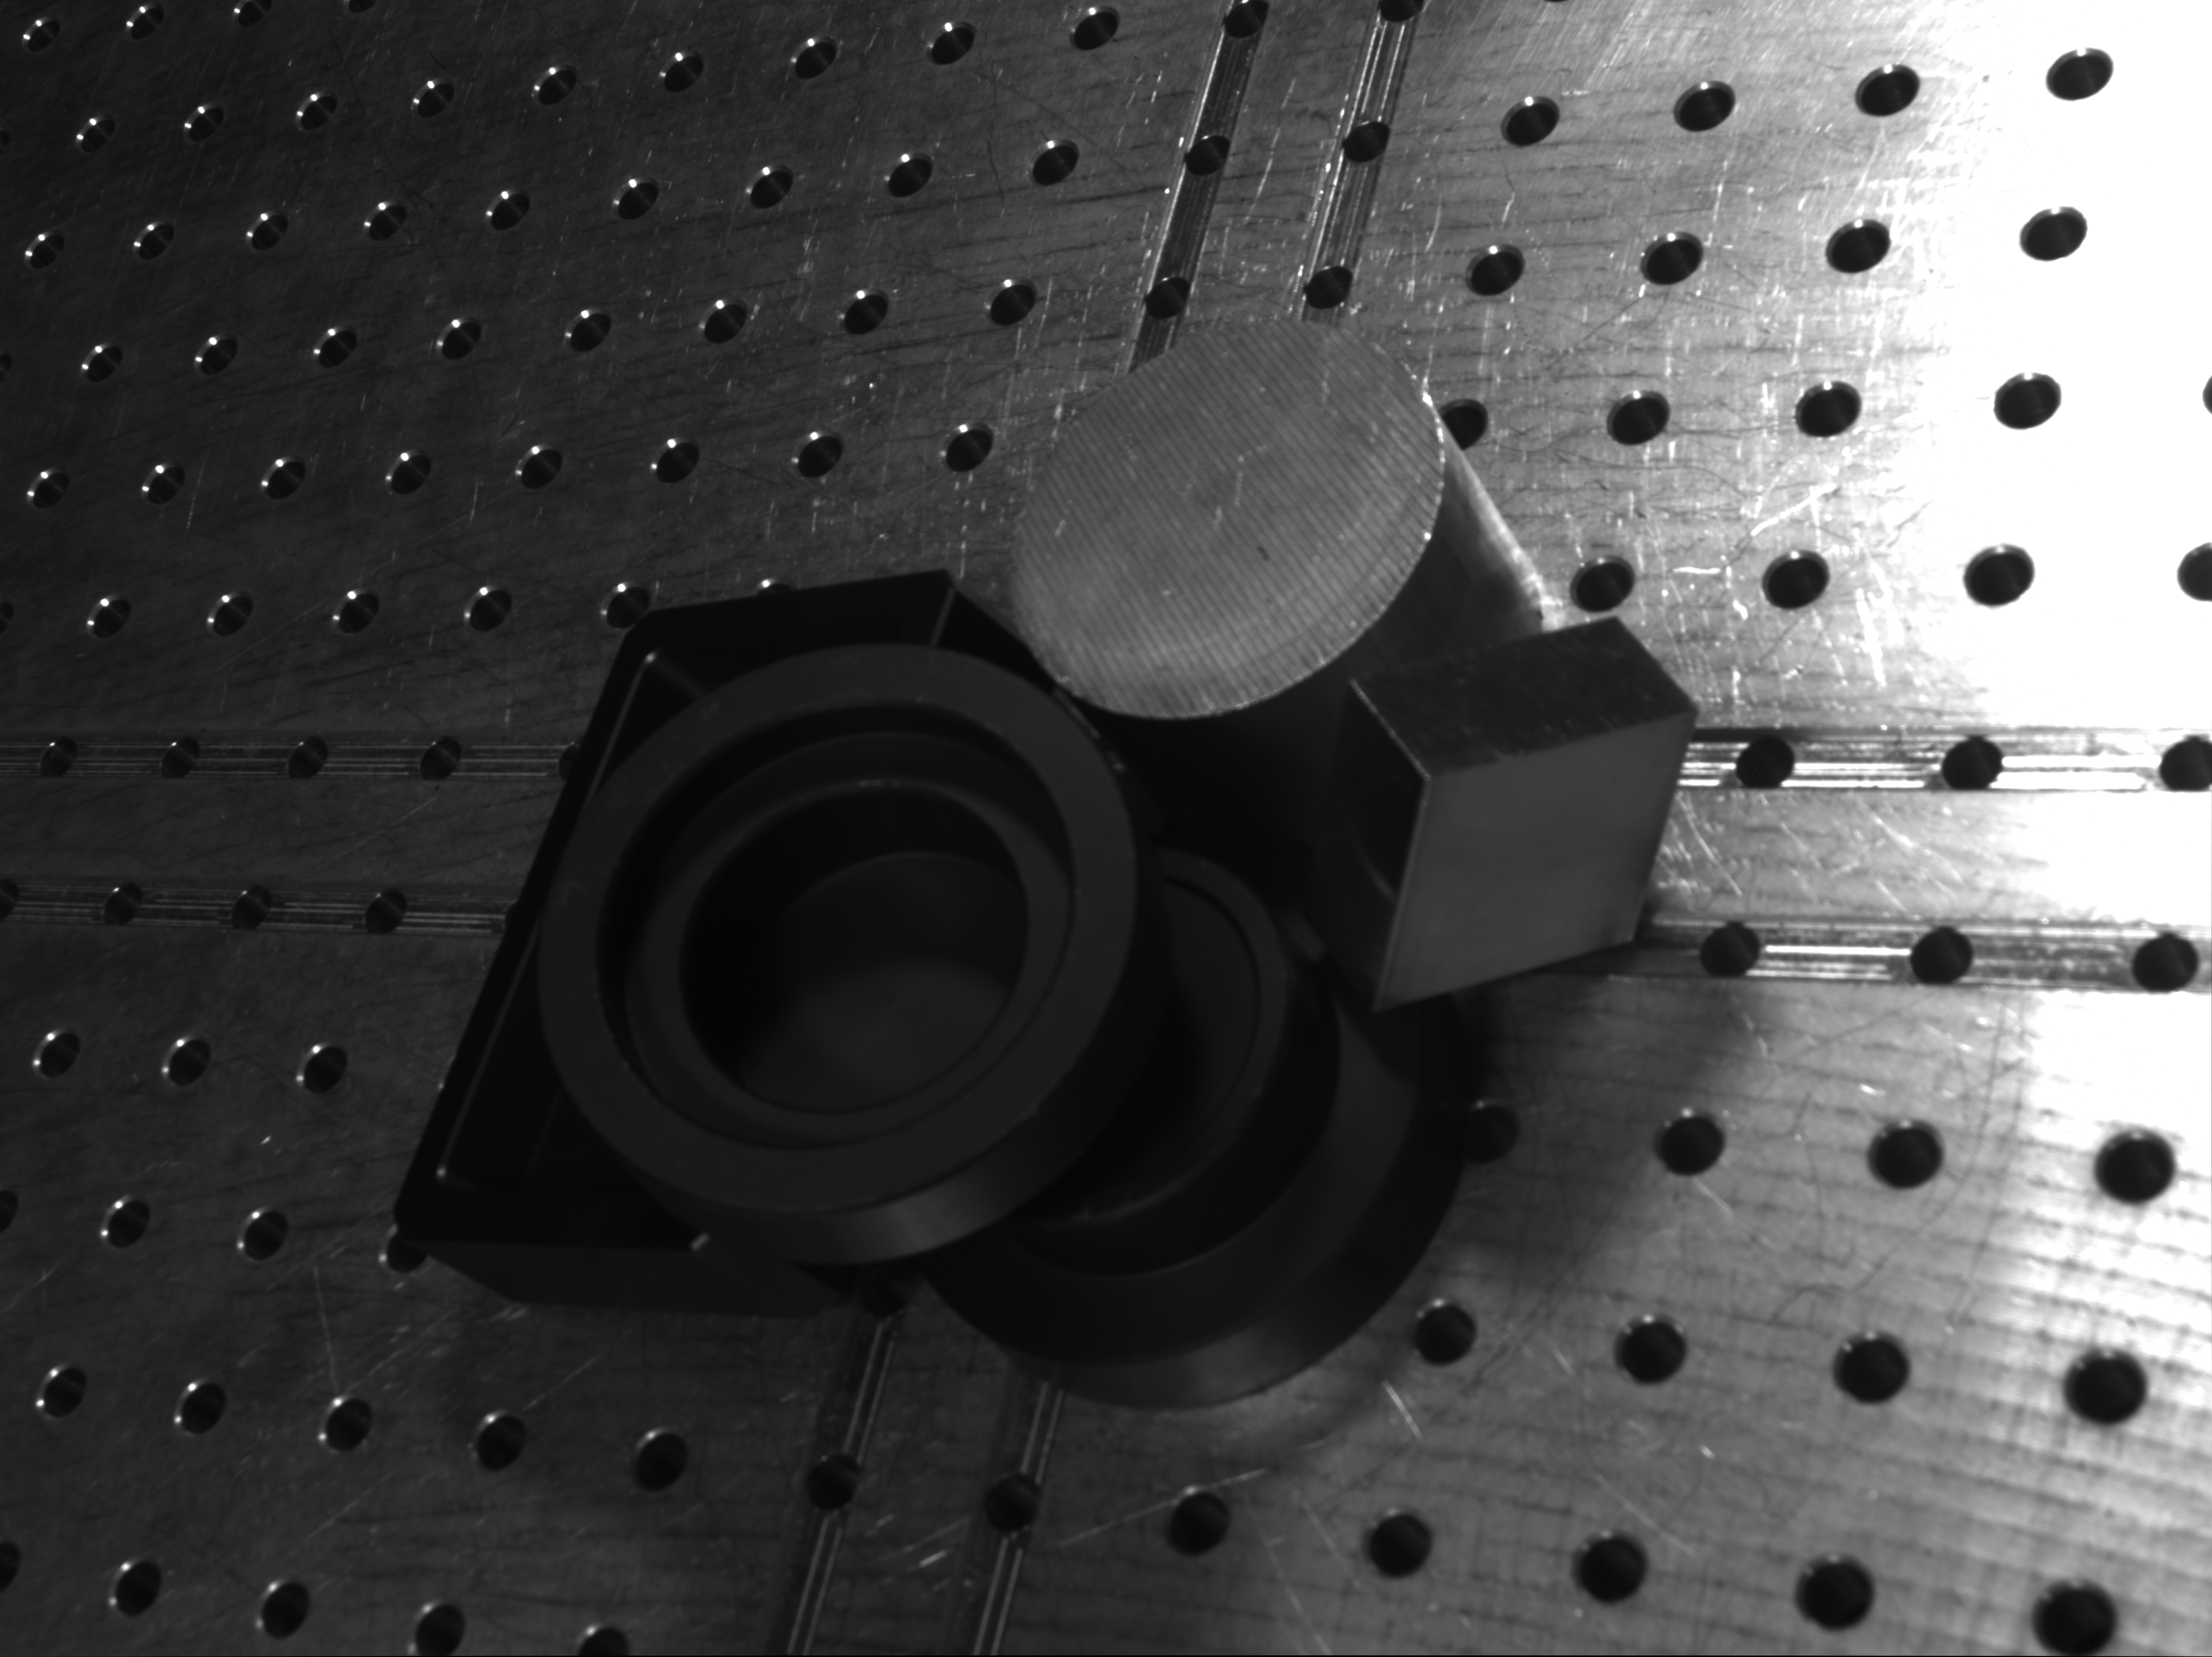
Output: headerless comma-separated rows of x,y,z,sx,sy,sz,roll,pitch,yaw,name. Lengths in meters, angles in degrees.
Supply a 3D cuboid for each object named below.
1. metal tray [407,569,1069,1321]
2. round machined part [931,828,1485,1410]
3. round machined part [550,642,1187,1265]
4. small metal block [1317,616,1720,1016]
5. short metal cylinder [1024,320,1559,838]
-0.065,0.020,0.652,0.090,0.030,0.130,-4,58,43,metal tray
0.009,0.042,0.604,0.098,0.042,0.098,-13,56,21,round machined part
-0.034,0.023,0.579,0.098,0.042,0.098,-7,62,13,round machined part
0.065,-0.002,0.585,0.050,0.050,0.025,-14,46,-23,small metal block
0.033,-0.041,0.639,0.080,0.050,0.080,-13,56,21,short metal cylinder
